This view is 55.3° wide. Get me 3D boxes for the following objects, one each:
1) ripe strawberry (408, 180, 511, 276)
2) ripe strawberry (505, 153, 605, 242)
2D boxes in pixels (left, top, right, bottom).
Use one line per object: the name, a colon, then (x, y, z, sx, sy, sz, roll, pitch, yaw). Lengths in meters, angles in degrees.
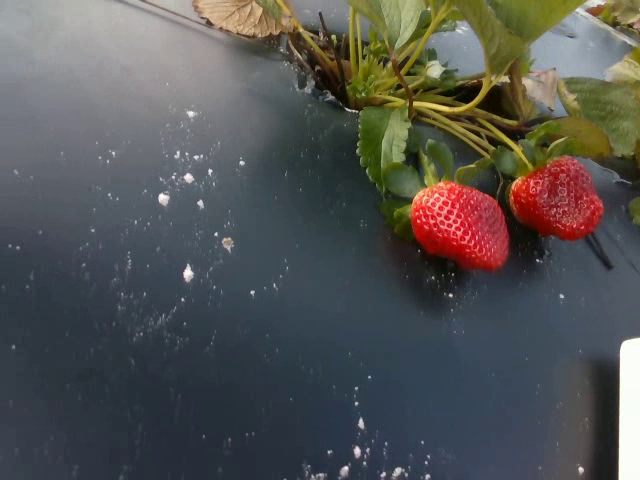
ripe strawberry: (0.068, -0.005, 0.280, 0.050, 0.045, 0.061, 1, 36, -13)
ripe strawberry: (0.124, -0.023, 0.311, 0.042, 0.034, 0.053, -5, 41, -15)
